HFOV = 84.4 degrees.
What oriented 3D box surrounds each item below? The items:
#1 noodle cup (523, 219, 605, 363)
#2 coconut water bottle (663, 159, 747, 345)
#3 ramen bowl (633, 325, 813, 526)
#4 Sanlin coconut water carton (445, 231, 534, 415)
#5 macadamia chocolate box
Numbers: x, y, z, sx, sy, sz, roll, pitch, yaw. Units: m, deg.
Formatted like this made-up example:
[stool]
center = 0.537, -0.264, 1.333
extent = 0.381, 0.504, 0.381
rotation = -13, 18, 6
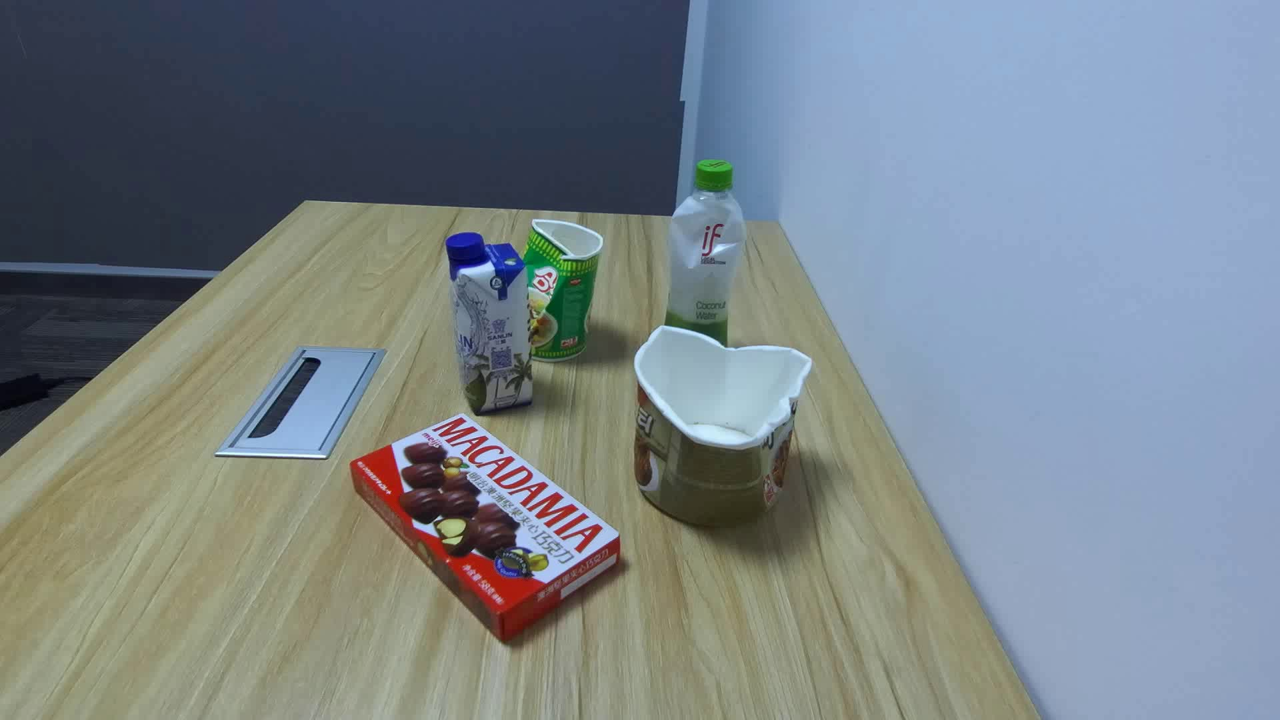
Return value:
[noodle cup]
center = -0.080, -0.062, 0.657
extent = 0.075, 0.122, 0.082
rotation = 11, 24, -4
[coconut water bottle]
center = 0.055, -0.081, 0.624
extent = 0.067, 0.187, 0.067
rotation = 3, 29, -1
[ramen bowl]
center = 0.051, 0.051, 0.497
extent = 0.113, 0.097, 0.134
rotation = 10, 31, 11
[Sanlin coconut water carton]
center = -0.121, -0.032, 0.576
extent = 0.061, 0.144, 0.060
rotation = -10, 32, -22
[macadamia chocolate box]
center = -0.107, 0.101, 0.473
extent = 0.177, 0.027, 0.096
rotation = 30, 39, 36
